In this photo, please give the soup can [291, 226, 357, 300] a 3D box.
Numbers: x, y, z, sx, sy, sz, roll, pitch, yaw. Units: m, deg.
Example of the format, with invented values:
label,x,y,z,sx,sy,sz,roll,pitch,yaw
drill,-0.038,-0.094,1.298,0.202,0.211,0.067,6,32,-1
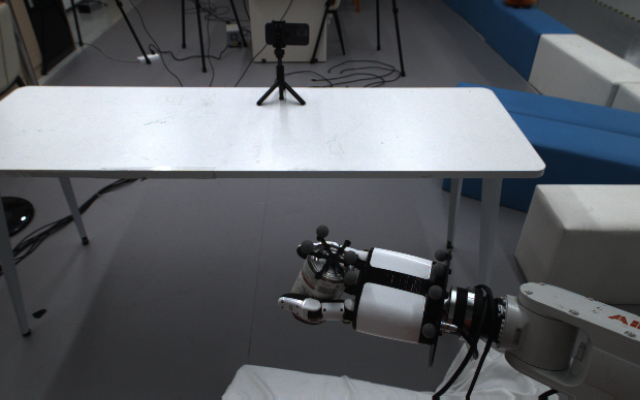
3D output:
label,x,y,z,sx,sy,sz,roll,pitch,yaw
soup can,0.001,0.119,0.675,0.067,0.101,0.067,14,39,-12
